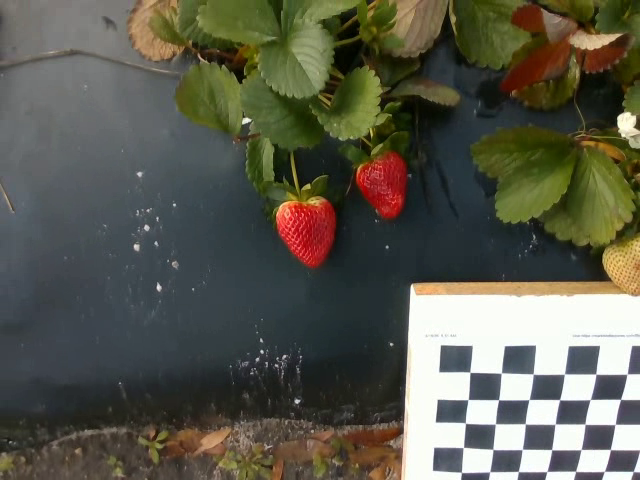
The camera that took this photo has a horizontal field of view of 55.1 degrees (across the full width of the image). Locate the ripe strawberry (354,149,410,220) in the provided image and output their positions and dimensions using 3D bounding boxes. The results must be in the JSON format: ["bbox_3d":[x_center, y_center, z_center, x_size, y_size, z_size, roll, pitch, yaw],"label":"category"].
[{"bbox_3d":[0.047,-0.040,0.446,0.042,0.053,0.034,-14,-13,11],"label":"ripe strawberry"}]

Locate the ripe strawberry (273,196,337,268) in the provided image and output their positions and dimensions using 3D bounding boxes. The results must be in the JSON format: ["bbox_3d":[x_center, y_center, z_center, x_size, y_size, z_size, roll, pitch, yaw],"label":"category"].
[{"bbox_3d":[-0.009,-0.005,0.454,0.050,0.061,0.045,-9,-16,9],"label":"ripe strawberry"}]
